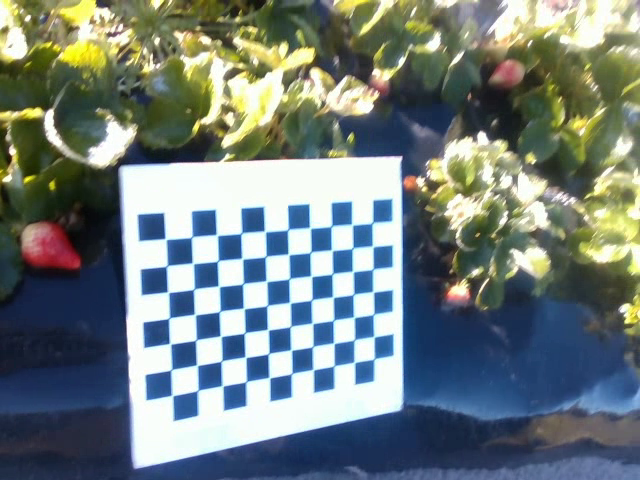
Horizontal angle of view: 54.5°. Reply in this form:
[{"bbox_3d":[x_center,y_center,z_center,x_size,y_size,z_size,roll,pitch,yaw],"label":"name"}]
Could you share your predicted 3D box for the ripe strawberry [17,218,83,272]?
[{"bbox_3d":[-0.252,0.010,0.578,0.065,0.040,0.040,40,-13,-22],"label":"ripe strawberry"}]
